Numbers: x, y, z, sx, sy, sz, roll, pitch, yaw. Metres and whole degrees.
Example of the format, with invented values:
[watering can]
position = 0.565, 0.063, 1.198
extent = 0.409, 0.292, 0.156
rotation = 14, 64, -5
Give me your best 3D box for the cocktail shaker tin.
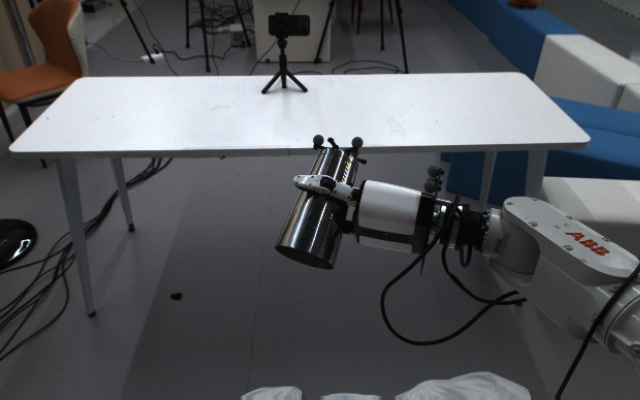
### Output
[cocktail shaker tin]
position = 0.001, 0.009, 0.736
extent = 0.093, 0.093, 0.170
rotation = 14, 70, 16
